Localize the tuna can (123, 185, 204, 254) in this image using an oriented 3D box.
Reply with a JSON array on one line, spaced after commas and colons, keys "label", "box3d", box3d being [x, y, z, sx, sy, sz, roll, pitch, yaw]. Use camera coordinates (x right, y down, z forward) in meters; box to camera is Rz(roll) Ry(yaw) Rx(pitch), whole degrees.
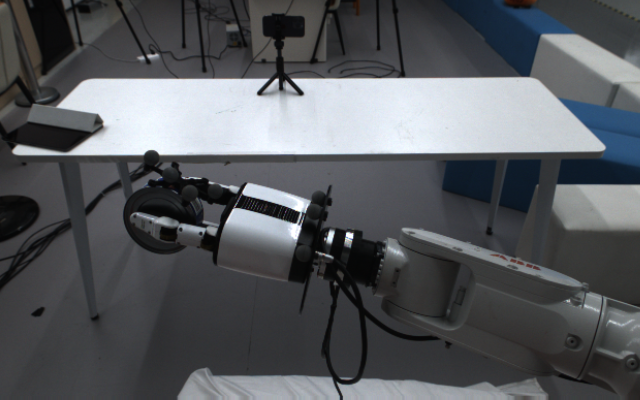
[{"label": "tuna can", "box3d": [-0.182, 0.020, 0.570, 0.085, 0.085, 0.034, 4, 20, 3]}]
